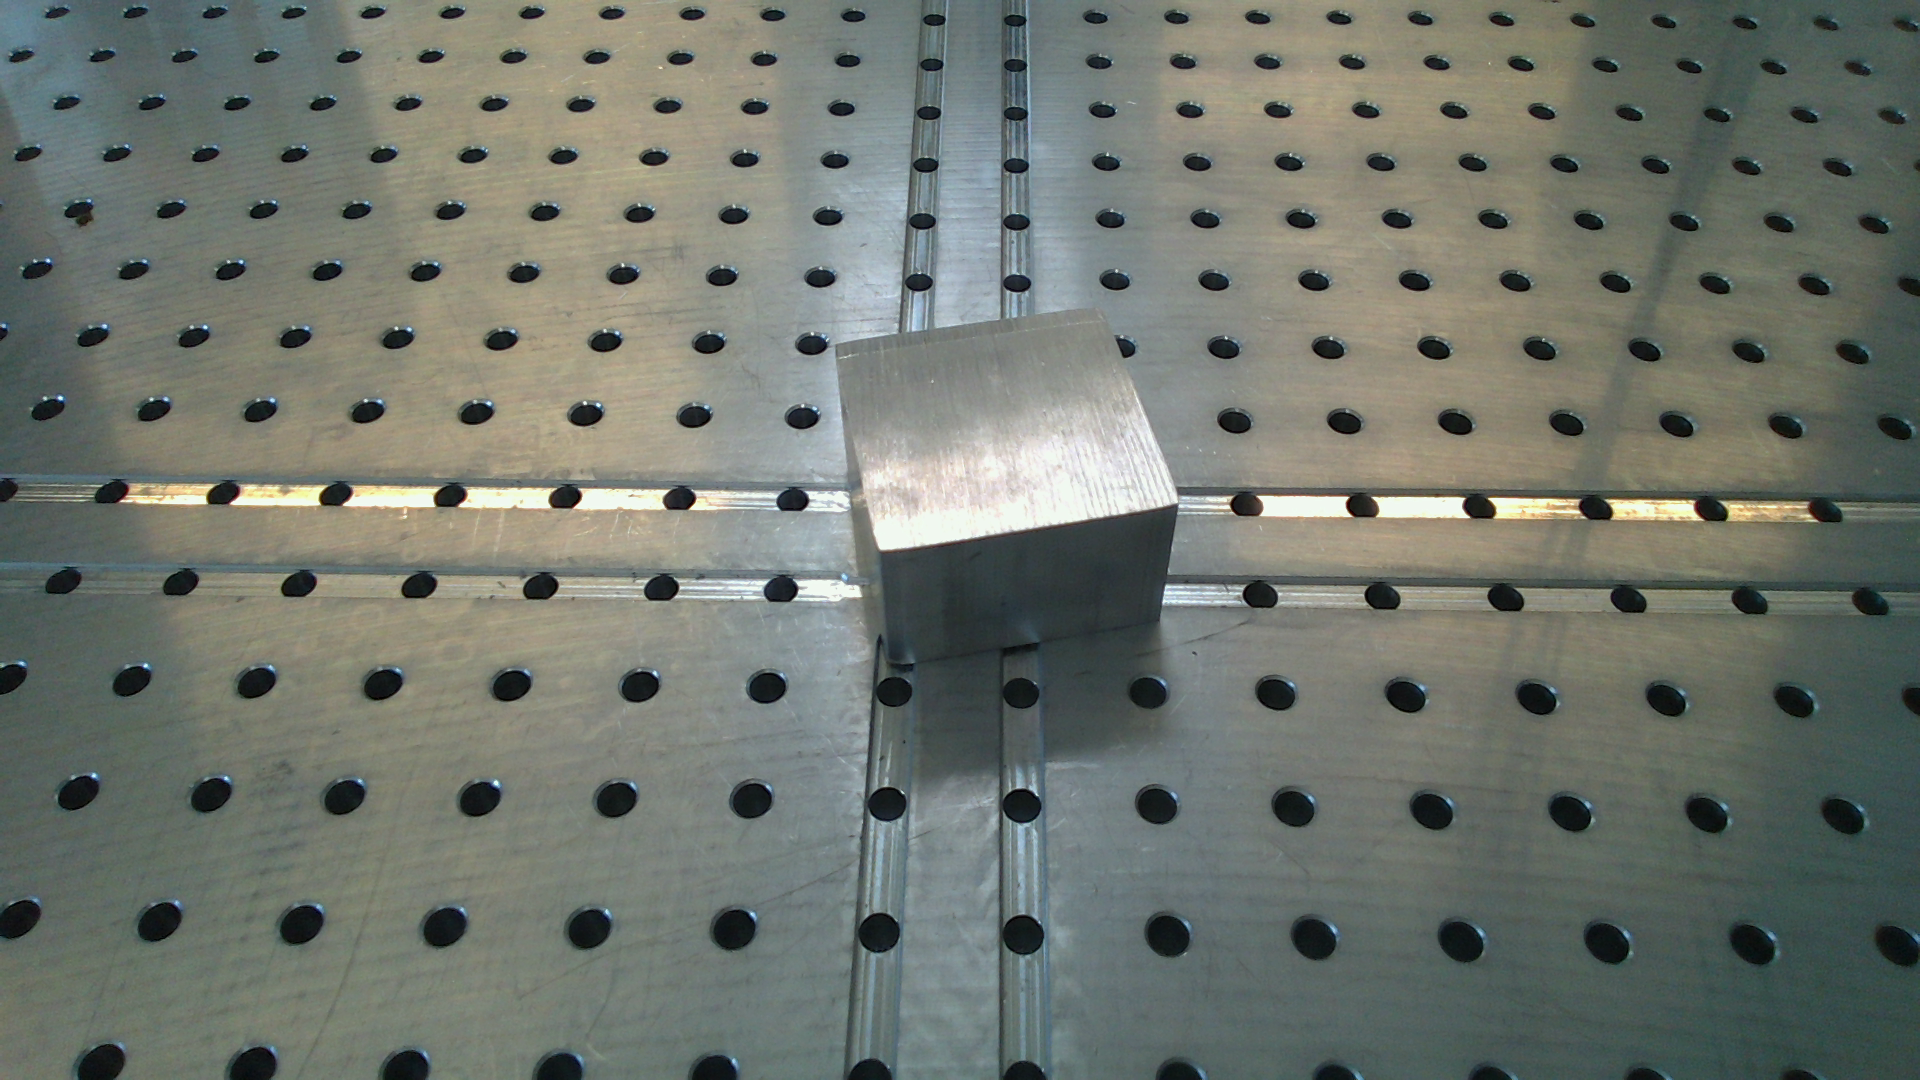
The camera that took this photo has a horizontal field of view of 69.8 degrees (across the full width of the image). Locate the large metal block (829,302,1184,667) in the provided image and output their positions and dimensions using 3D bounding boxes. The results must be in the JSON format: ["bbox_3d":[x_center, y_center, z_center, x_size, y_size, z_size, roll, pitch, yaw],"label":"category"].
[{"bbox_3d":[0.010,-0.017,0.392,0.080,0.050,0.080,-9,51,-8],"label":"large metal block"}]
